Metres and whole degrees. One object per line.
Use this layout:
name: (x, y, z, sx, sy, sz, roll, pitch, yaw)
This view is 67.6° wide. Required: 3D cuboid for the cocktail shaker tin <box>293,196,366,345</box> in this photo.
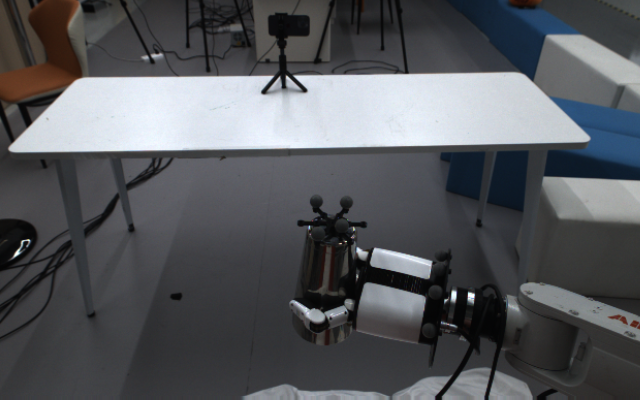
cocktail shaker tin: (0.012, 0.106, 0.668, 0.093, 0.170, 0.093, 3, 34, -2)
